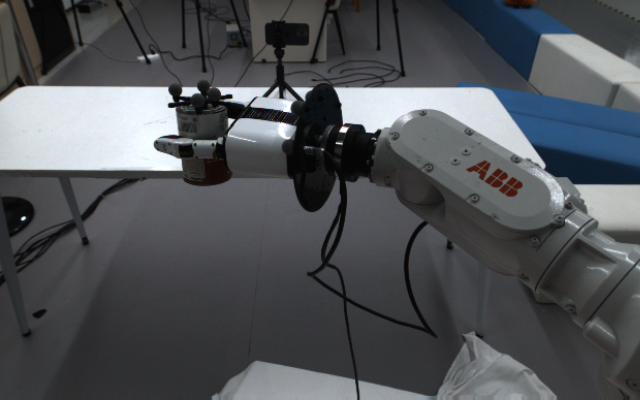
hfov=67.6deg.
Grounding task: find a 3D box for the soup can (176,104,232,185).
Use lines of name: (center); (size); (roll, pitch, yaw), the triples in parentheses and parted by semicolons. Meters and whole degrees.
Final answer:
soup can: (-0.155, -0.077, 0.651); (0.067, 0.101, 0.067); (1, 25, 0)
